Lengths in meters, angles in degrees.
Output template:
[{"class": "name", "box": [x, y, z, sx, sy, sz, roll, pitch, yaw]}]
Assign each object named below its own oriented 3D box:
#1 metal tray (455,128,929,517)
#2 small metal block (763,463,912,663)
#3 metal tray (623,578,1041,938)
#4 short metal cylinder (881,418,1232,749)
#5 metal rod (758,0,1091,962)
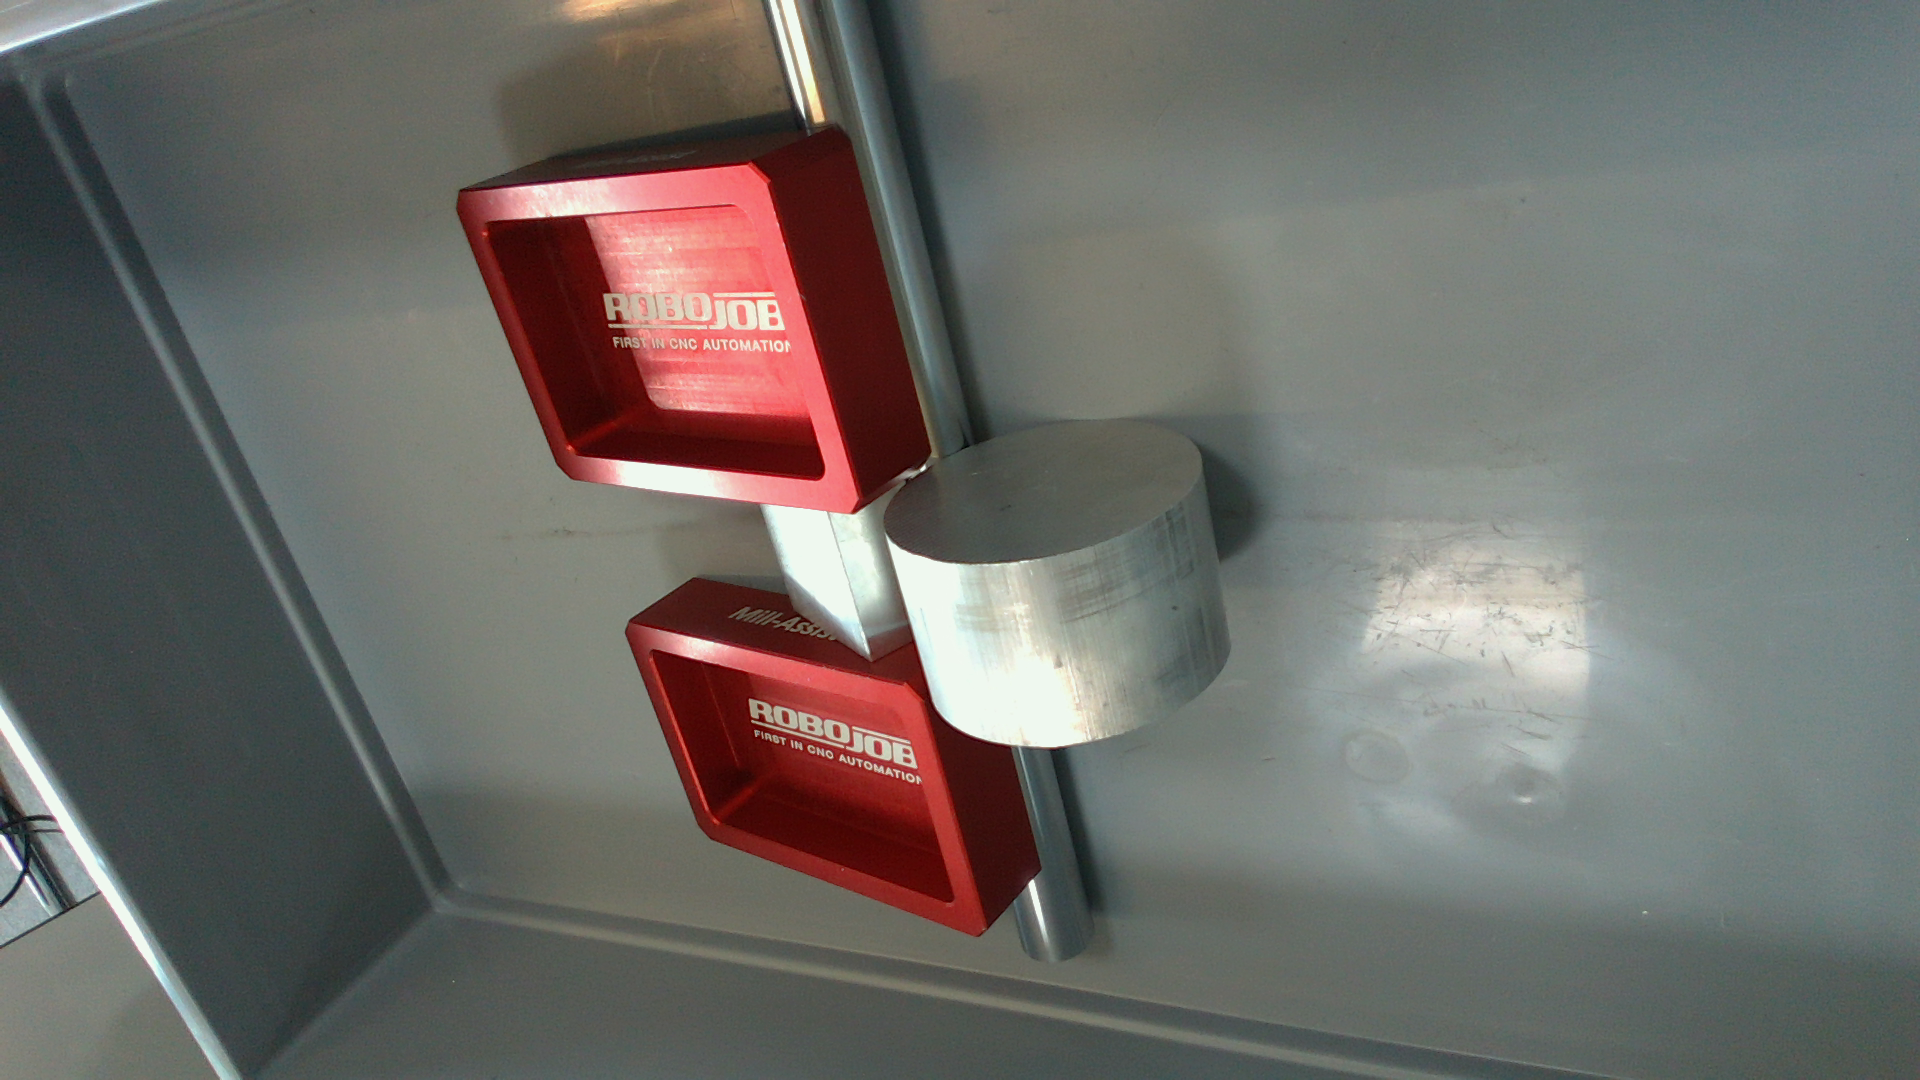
[{"class": "metal tray", "box": [-0.075, -0.058, 0.375, 0.129, 0.030, 0.090, 8, 123, 39]}, {"class": "small metal block", "box": [-0.033, 0.001, 0.396, 0.050, 0.025, 0.050, 26, 136, 53]}, {"class": "metal tray", "box": [-0.042, 0.065, 0.433, 0.129, 0.030, 0.090, 8, 123, 39]}, {"class": "short metal cylinder", "box": [0.025, 0.009, 0.348, 0.080, 0.080, 0.050, 0, 119, 28]}, {"class": "metal rod", "box": [-0.003, -0.001, 0.391, 0.025, 0.025, 0.300, 0, 119, 28]}]
